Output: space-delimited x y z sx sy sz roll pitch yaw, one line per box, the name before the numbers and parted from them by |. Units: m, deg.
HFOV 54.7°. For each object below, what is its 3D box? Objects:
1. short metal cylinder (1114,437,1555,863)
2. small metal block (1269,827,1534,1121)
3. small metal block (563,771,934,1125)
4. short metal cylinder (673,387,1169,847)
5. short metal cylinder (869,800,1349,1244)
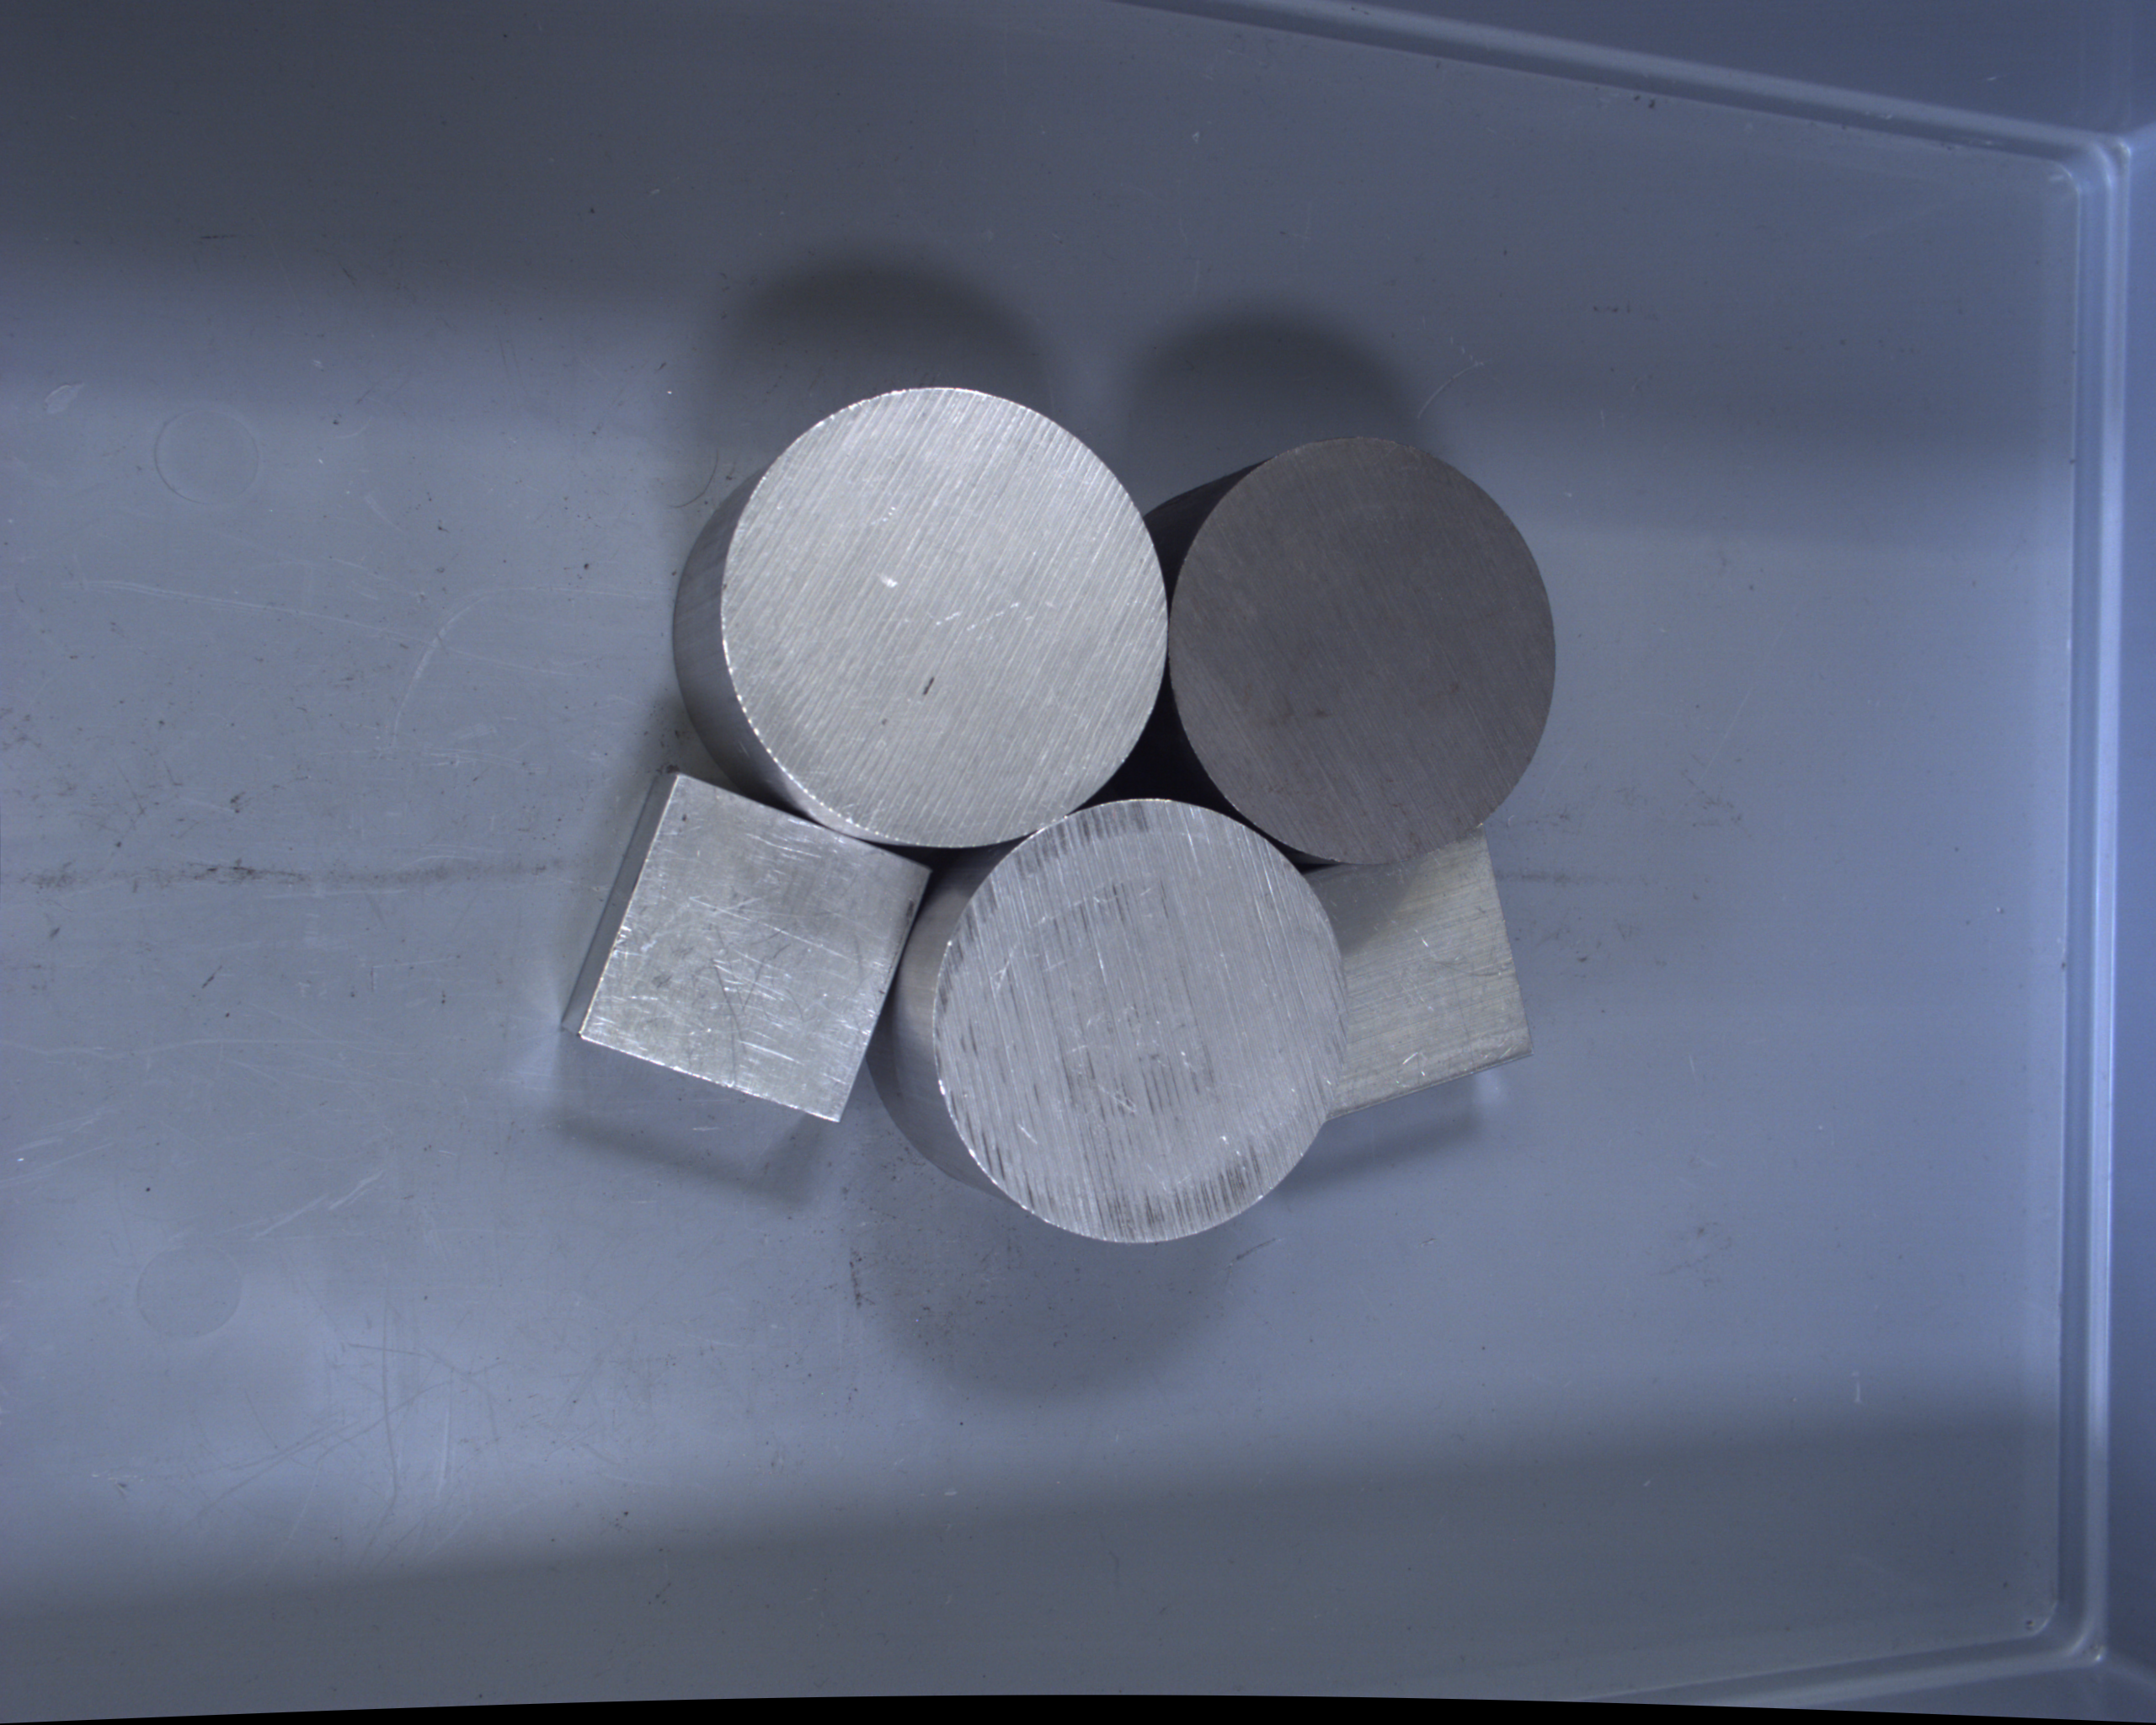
short metal cylinder | 0.046 -0.040 0.412 0.081 0.050 0.079 0 90 -20
small metal block | 0.061 0.022 0.432 0.050 0.025 0.050 -15 95 -20
small metal block | -0.061 0.016 0.386 0.050 0.025 0.050 22 83 -19
short metal cylinder | -0.030 -0.043 0.384 0.081 0.050 0.079 0 90 -20
short metal cylinder | 0.004 0.028 0.397 0.081 0.050 0.079 0 90 -20
